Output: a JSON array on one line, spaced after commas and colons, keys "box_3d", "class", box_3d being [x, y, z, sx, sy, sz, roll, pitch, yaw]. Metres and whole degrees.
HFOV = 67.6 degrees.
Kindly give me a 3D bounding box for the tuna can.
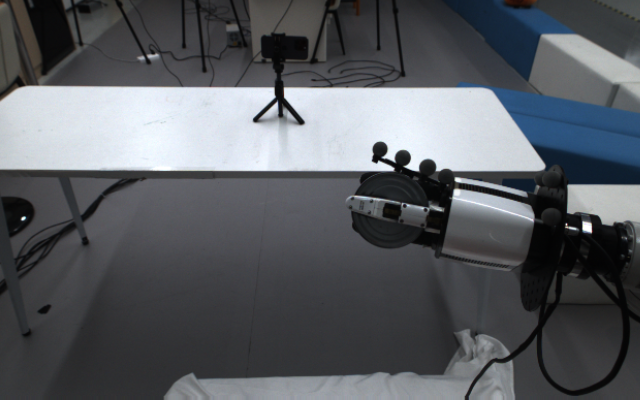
[{"box_3d": [0.083, 0.009, 0.551, 0.085, 0.085, 0.034, 13, 3, 15], "class": "tuna can"}]
